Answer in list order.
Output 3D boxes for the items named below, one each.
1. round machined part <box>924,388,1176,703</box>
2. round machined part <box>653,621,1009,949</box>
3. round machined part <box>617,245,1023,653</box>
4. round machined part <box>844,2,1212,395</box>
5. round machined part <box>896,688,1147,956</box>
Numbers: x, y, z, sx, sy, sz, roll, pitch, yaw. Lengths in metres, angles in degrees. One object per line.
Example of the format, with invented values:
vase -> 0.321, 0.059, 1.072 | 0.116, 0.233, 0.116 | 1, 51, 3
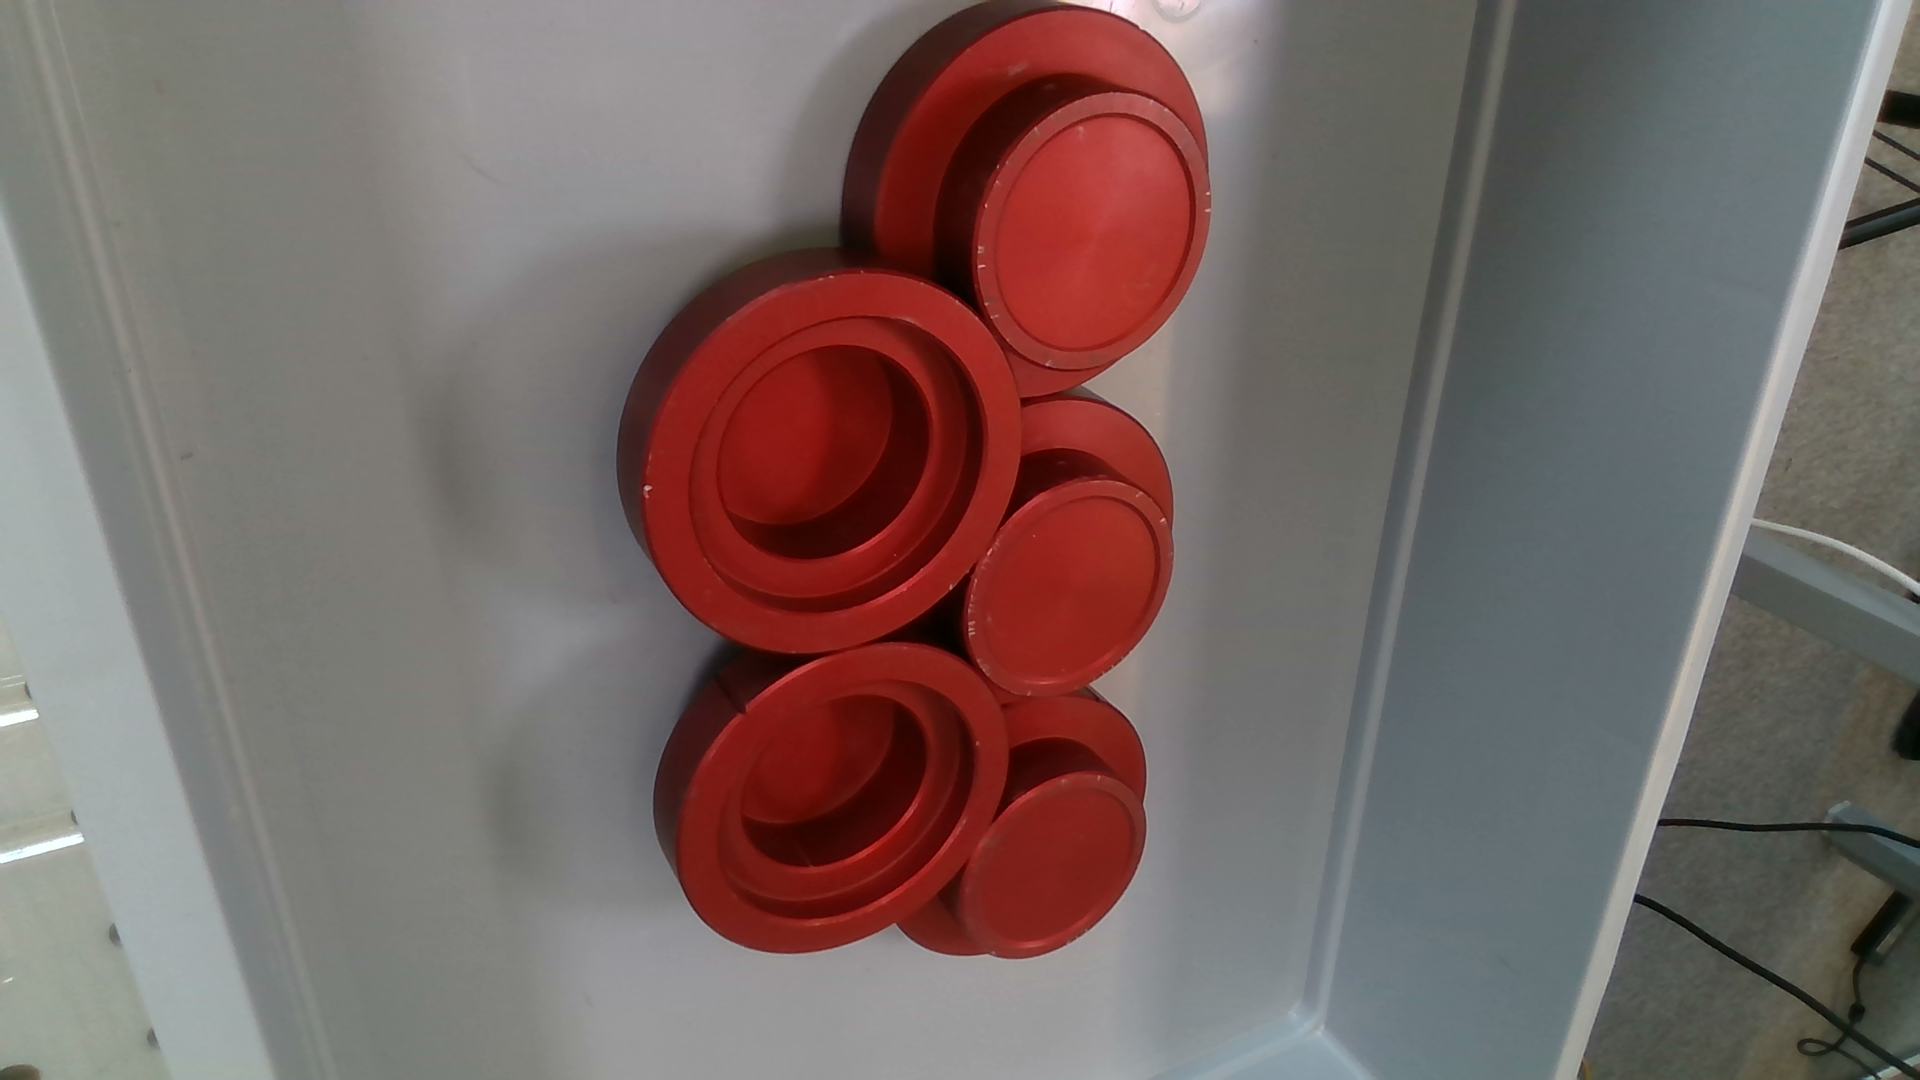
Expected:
round machined part -> 0.022, 0.004, 0.392 | 0.098, 0.042, 0.098 | -15, 121, -26
round machined part -> -0.039, 0.062, 0.387 | 0.098, 0.042, 0.098 | -14, 122, -25
round machined part -> -0.037, -0.025, 0.341 | 0.098, 0.042, 0.098 | -14, 122, -25
round machined part -> 0.024, -0.082, 0.346 | 0.098, 0.042, 0.098 | -15, 123, -25
round machined part -> 0.020, 0.092, 0.438 | 0.098, 0.042, 0.098 | -15, 121, -26
